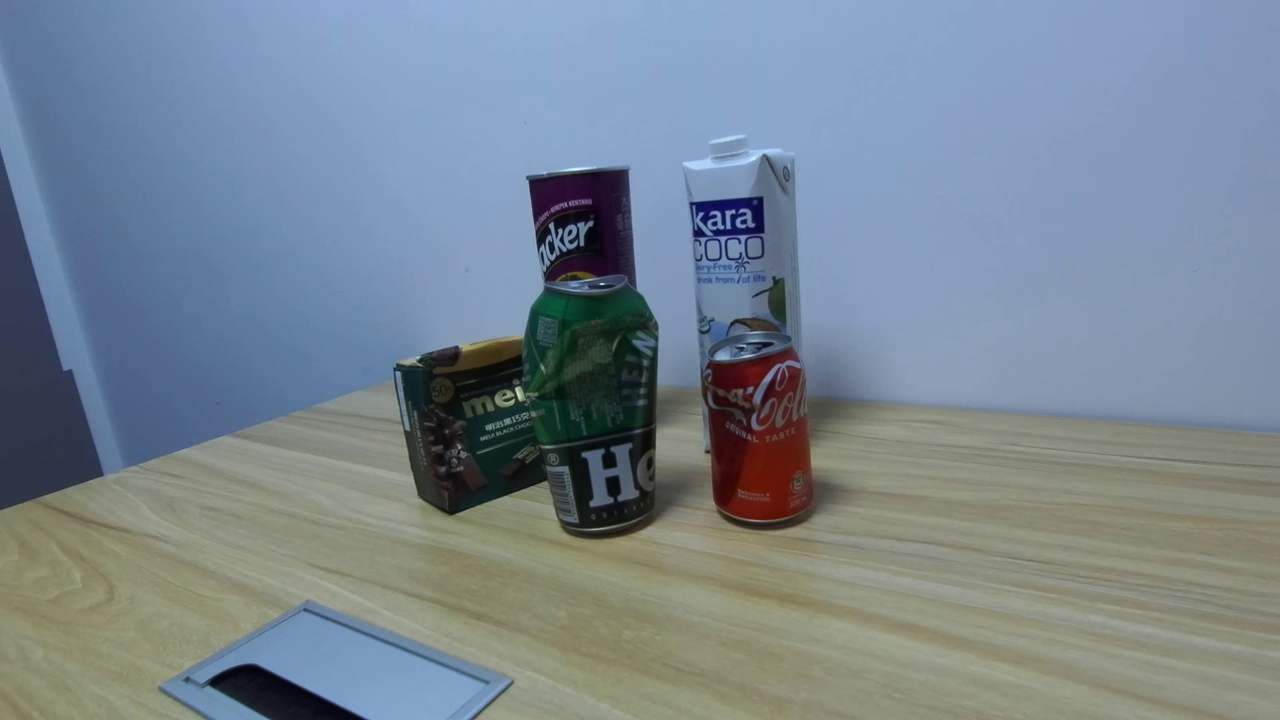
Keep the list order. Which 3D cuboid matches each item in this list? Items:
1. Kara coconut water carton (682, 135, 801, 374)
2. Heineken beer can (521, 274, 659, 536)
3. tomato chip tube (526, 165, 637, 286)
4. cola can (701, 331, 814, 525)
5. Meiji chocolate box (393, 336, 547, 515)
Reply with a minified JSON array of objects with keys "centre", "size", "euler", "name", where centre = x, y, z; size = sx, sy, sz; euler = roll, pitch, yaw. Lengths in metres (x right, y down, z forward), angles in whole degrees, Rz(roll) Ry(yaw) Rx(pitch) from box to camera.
[{"centre":[0.085,-0.048,0.557],"size":[0.076,0.245,0.075],"euler":[3,15,34],"name":"Kara coconut water carton"},{"centre":[-0.031,0.030,0.462],"size":[0.077,0.164,0.066],"euler":[3,15,21],"name":"Heineken beer can"},{"centre":[-0.039,-0.045,0.617],"size":[0.077,0.234,0.080],"euler":[-14,14,-39],"name":"tomato chip tube"},{"centre":[0.078,0.044,0.456],"size":[0.065,0.117,0.072],"euler":[-8,14,-12],"name":"cola can"},{"centre":[-0.125,0.050,0.558],"size":[0.114,0.110,0.058],"euler":[-15,9,-38],"name":"Meiji chocolate box"}]
